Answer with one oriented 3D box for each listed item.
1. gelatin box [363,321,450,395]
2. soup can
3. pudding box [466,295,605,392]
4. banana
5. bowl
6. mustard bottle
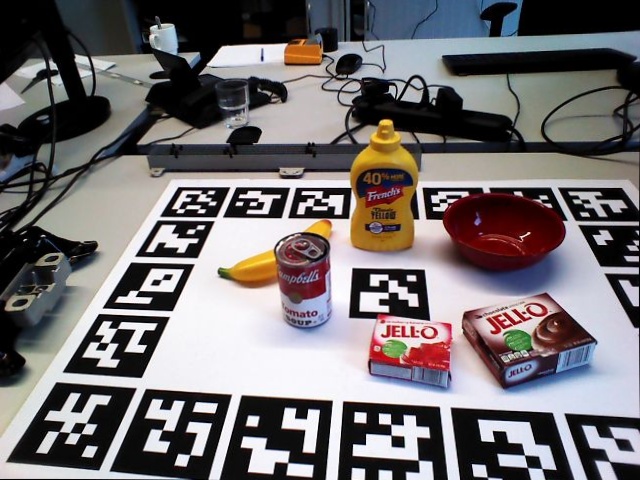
[{"bbox_3d":[0.098,0.129,0.579,0.090,0.030,0.073,5,39,14],"label":"gelatin box"},{"bbox_3d":[-0.027,0.044,0.637,0.068,0.102,0.067,-1,34,1],"label":"soup can"},{"bbox_3d":[0.236,0.112,0.580,0.114,0.039,0.090,-13,42,-11],"label":"pudding box"},{"bbox_3d":[-0.052,0.012,0.757,0.196,0.039,0.074,-28,32,-30],"label":"banana"},{"bbox_3d":[0.266,-0.001,0.727,0.162,0.055,0.161,-4,34,3],"label":"bowl"},{"bbox_3d":[0.093,-0.081,0.718,0.096,0.192,0.058,1,33,8],"label":"mustard bottle"}]
